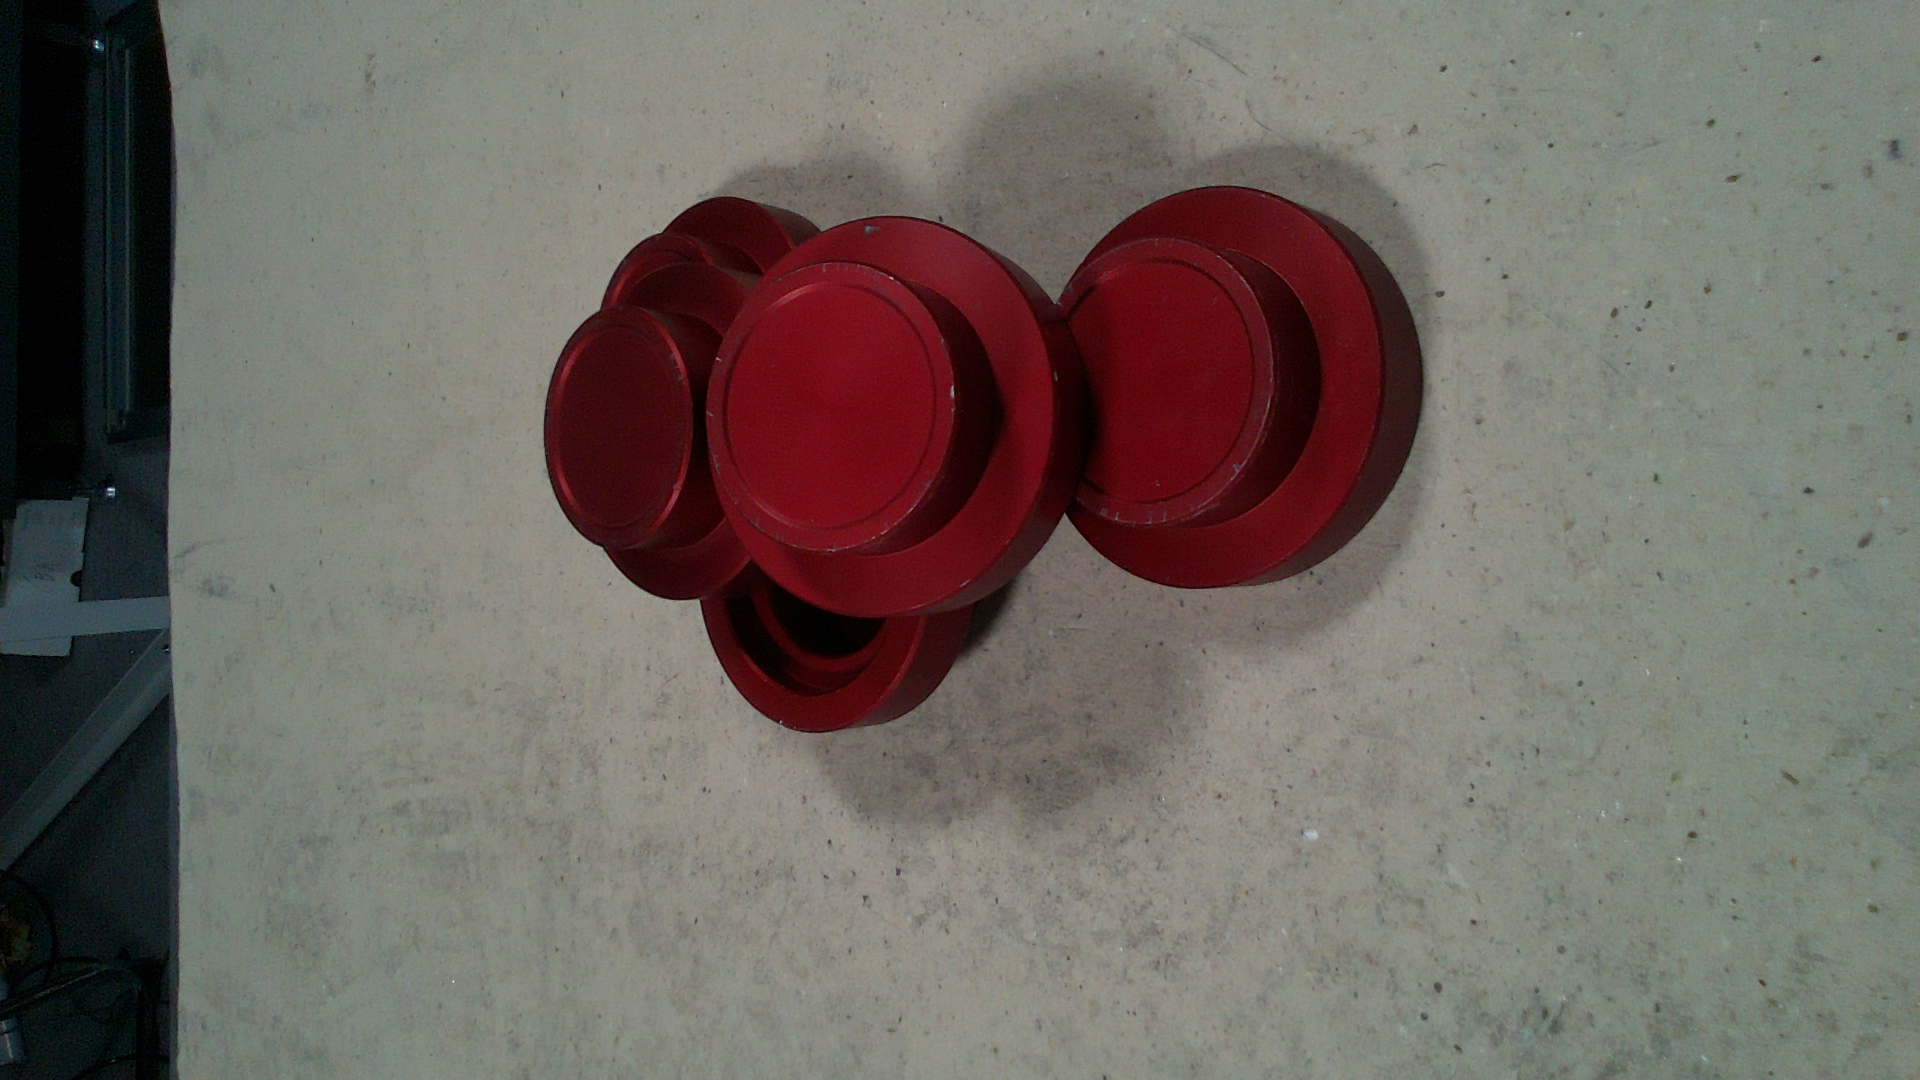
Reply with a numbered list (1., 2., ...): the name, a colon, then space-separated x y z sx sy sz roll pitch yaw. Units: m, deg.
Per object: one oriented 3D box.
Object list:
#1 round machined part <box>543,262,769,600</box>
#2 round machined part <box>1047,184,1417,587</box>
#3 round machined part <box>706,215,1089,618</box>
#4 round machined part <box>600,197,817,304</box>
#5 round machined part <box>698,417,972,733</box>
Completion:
1. round machined part: -0.084 -0.031 0.399 0.098 0.042 0.098 0 90 40
2. round machined part: 0.056 -0.037 0.336 0.098 0.042 0.098 0 90 40
3. round machined part: -0.022 -0.030 0.333 0.098 0.042 0.098 -1 88 27
4. round machined part: -0.083 -0.064 0.453 0.098 0.042 0.098 0 90 40
5. round machined part: -0.032 0.006 0.411 0.098 0.042 0.098 0 90 40
